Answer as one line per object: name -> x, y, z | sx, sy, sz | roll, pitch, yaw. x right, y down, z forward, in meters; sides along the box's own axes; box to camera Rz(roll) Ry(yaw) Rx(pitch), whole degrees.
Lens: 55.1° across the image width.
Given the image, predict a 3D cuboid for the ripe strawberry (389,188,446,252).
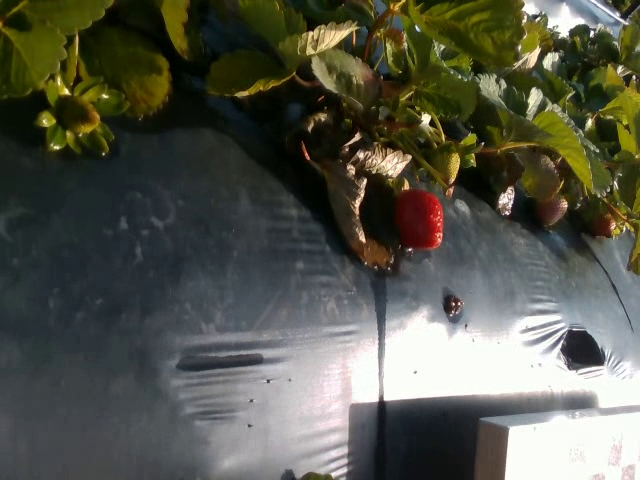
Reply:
ripe strawberry -> 0.056, -0.004, 0.322 | 0.037, 0.054, 0.046 | -41, -53, 19
